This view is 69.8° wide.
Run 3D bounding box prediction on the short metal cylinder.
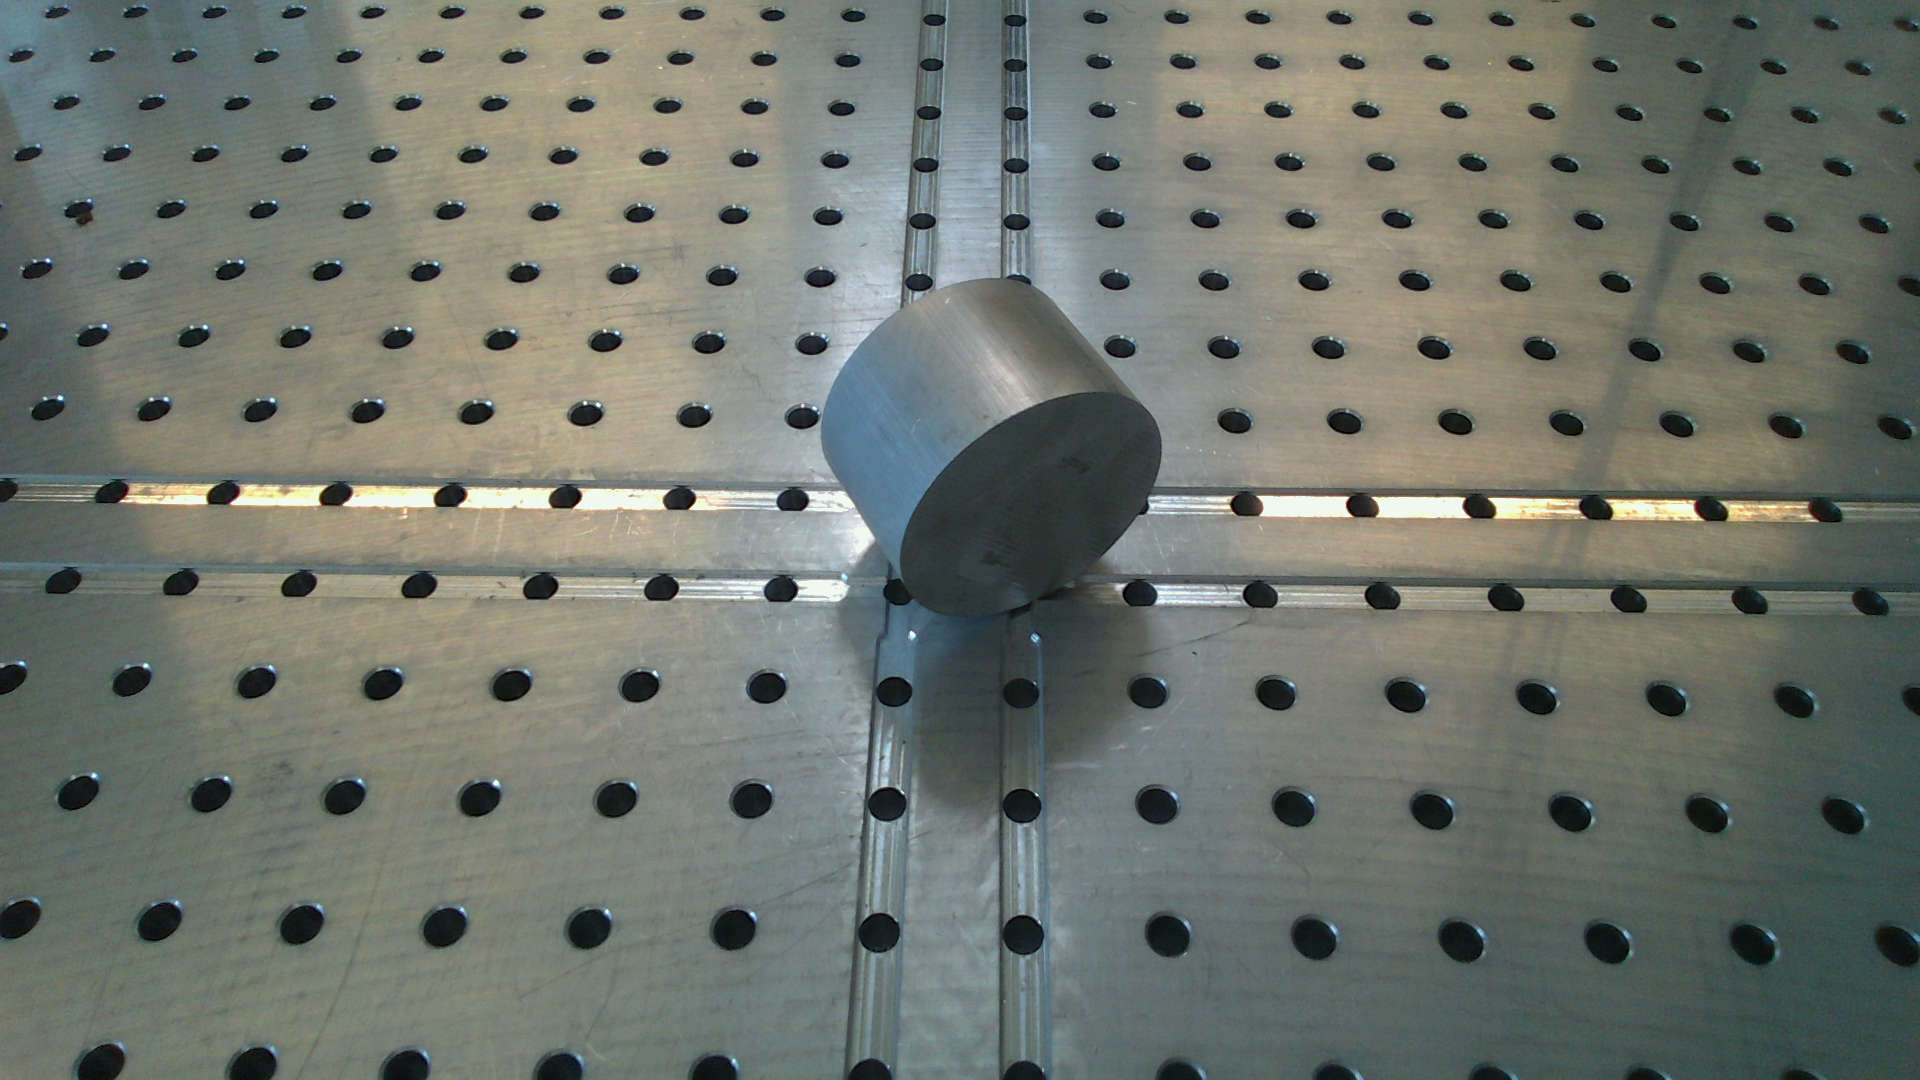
[{"bbox_3d":[0.008,-0.025,0.379,0.080,0.080,0.050,-22,52,-18],"label":"short metal cylinder"}]
